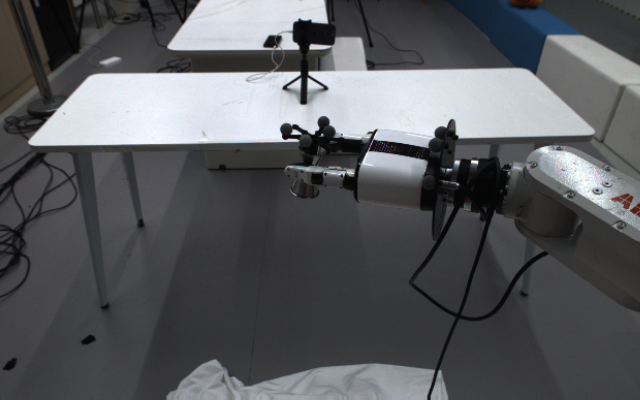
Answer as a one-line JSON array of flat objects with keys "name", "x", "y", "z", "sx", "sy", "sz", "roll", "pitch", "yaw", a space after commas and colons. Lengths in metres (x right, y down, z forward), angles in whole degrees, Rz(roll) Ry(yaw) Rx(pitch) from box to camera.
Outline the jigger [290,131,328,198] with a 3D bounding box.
[{"name": "jigger", "x": -0.018, "y": -0.042, "z": 0.690, "sx": 0.043, "sy": 0.071, "sz": 0.043, "roll": 9, "pitch": 30, "yaw": -5}]
